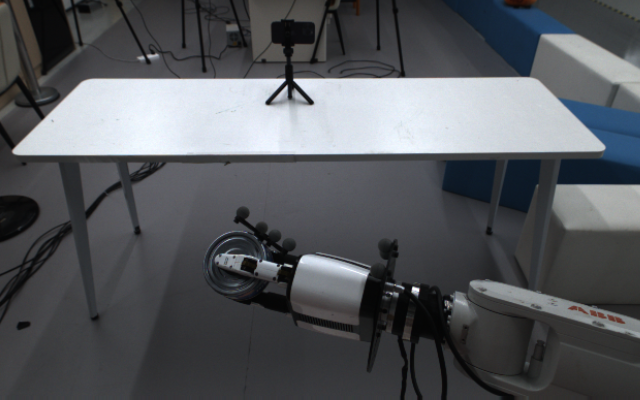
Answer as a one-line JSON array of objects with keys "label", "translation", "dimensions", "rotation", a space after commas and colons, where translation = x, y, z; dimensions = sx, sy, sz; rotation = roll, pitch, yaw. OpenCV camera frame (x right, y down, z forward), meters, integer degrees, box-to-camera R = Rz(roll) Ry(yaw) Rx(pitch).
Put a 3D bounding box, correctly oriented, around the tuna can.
[{"label": "tuna can", "translation": [-0.102, 0.083, 0.618], "dimensions": [0.085, 0.034, 0.085], "rotation": [-4, 69, 10]}]
